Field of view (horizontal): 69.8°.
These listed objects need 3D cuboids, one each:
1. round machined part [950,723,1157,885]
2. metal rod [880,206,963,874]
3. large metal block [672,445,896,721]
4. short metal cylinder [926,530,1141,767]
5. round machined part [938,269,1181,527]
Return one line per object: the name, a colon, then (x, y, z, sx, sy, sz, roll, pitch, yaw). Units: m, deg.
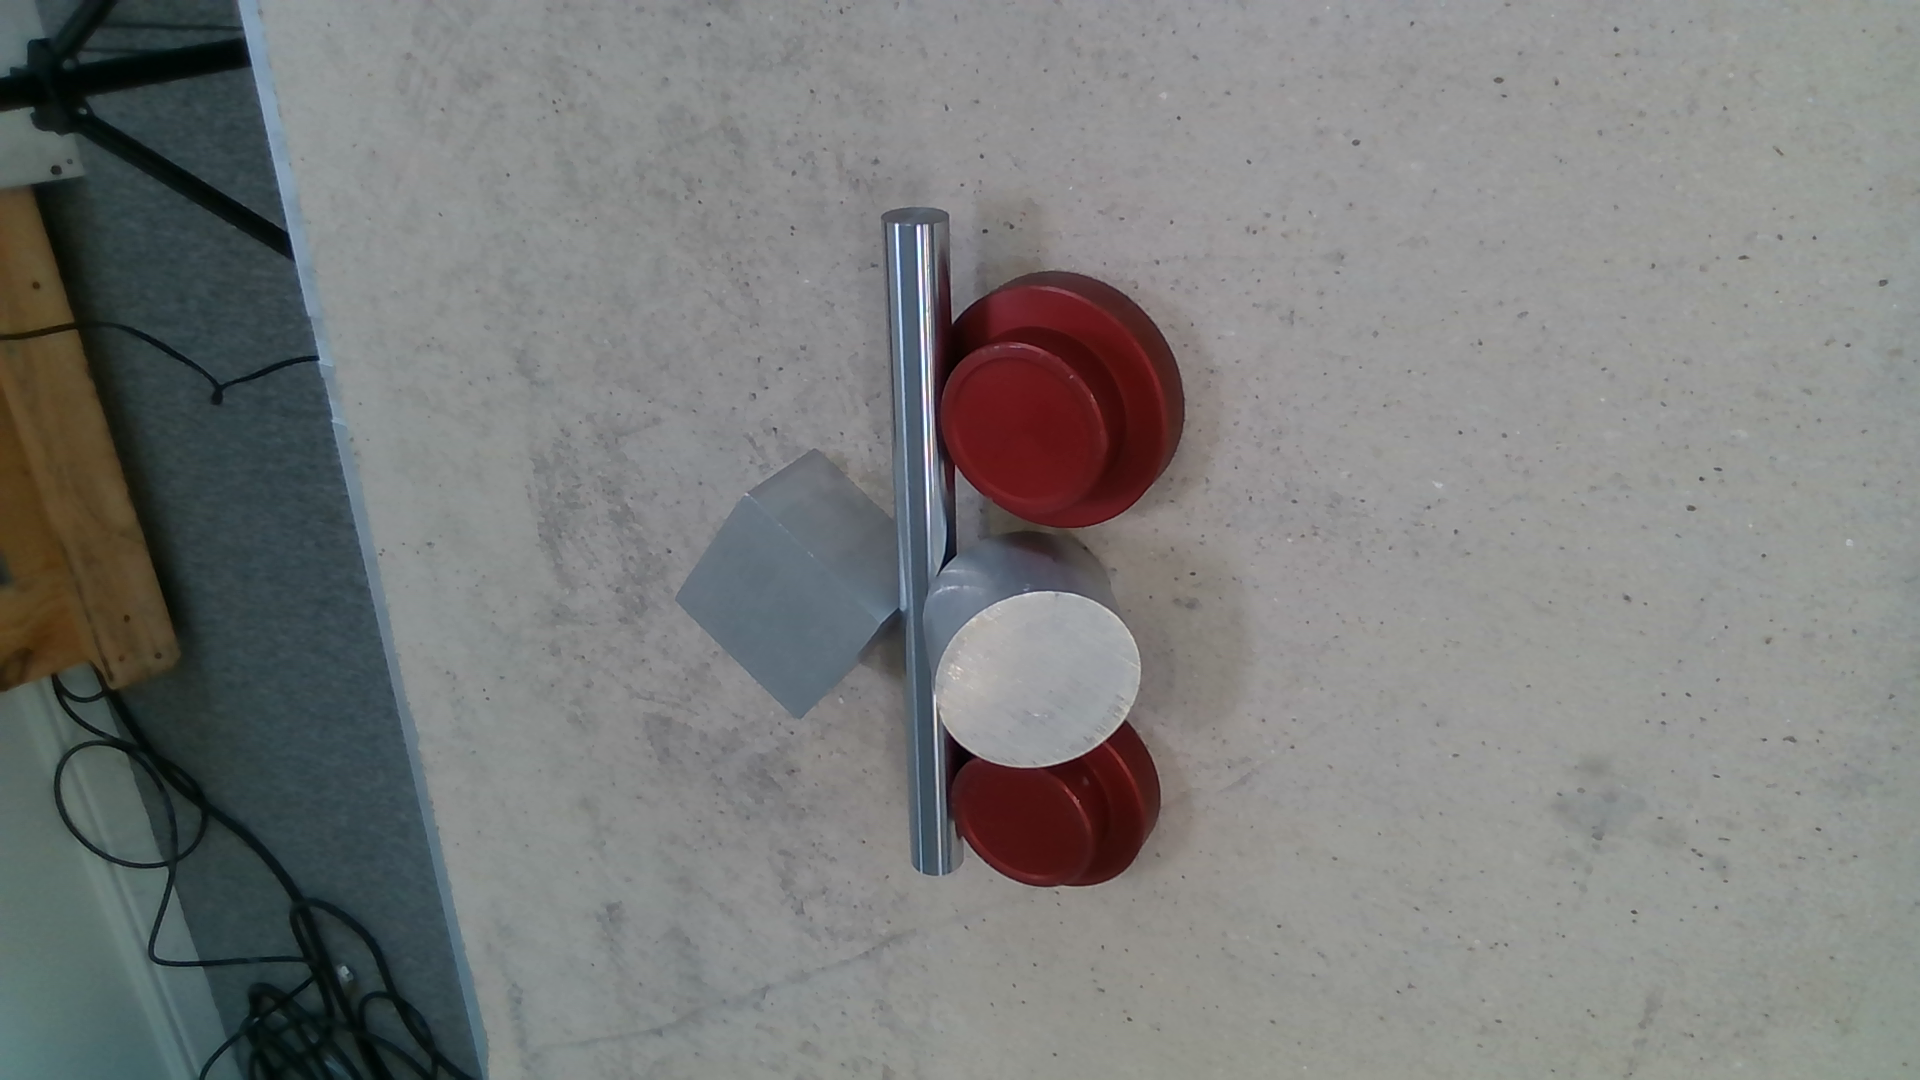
round machined part: (0.035, 0.113, 0.610, 0.098, 0.042, 0.098, 14, 122, 25)
metal rod: (-0.014, 0.015, 0.569, 0.025, 0.025, 0.301, 13, 121, 25)
large metal block: (-0.070, 0.019, 0.615, 0.080, 0.050, 0.080, 44, 129, 4)
short metal cylinder: (0.027, 0.043, 0.548, 0.080, 0.050, 0.080, -3, 118, -6)
round machined part: (0.031, -0.049, 0.522, 0.098, 0.042, 0.098, 14, 122, 25)
